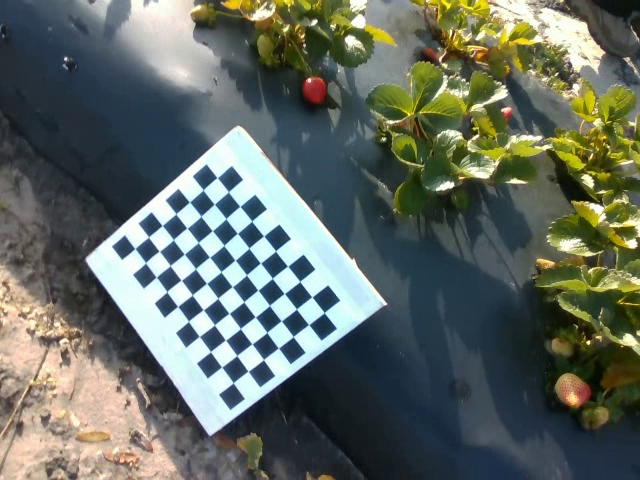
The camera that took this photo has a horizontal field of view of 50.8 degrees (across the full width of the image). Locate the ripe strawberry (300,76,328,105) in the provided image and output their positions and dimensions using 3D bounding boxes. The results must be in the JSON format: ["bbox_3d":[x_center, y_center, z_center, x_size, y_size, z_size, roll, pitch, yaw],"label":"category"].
[{"bbox_3d":[-0.006,-0.182,0.815,0.030,0.044,0.033,-12,-39,16],"label":"ripe strawberry"}]
